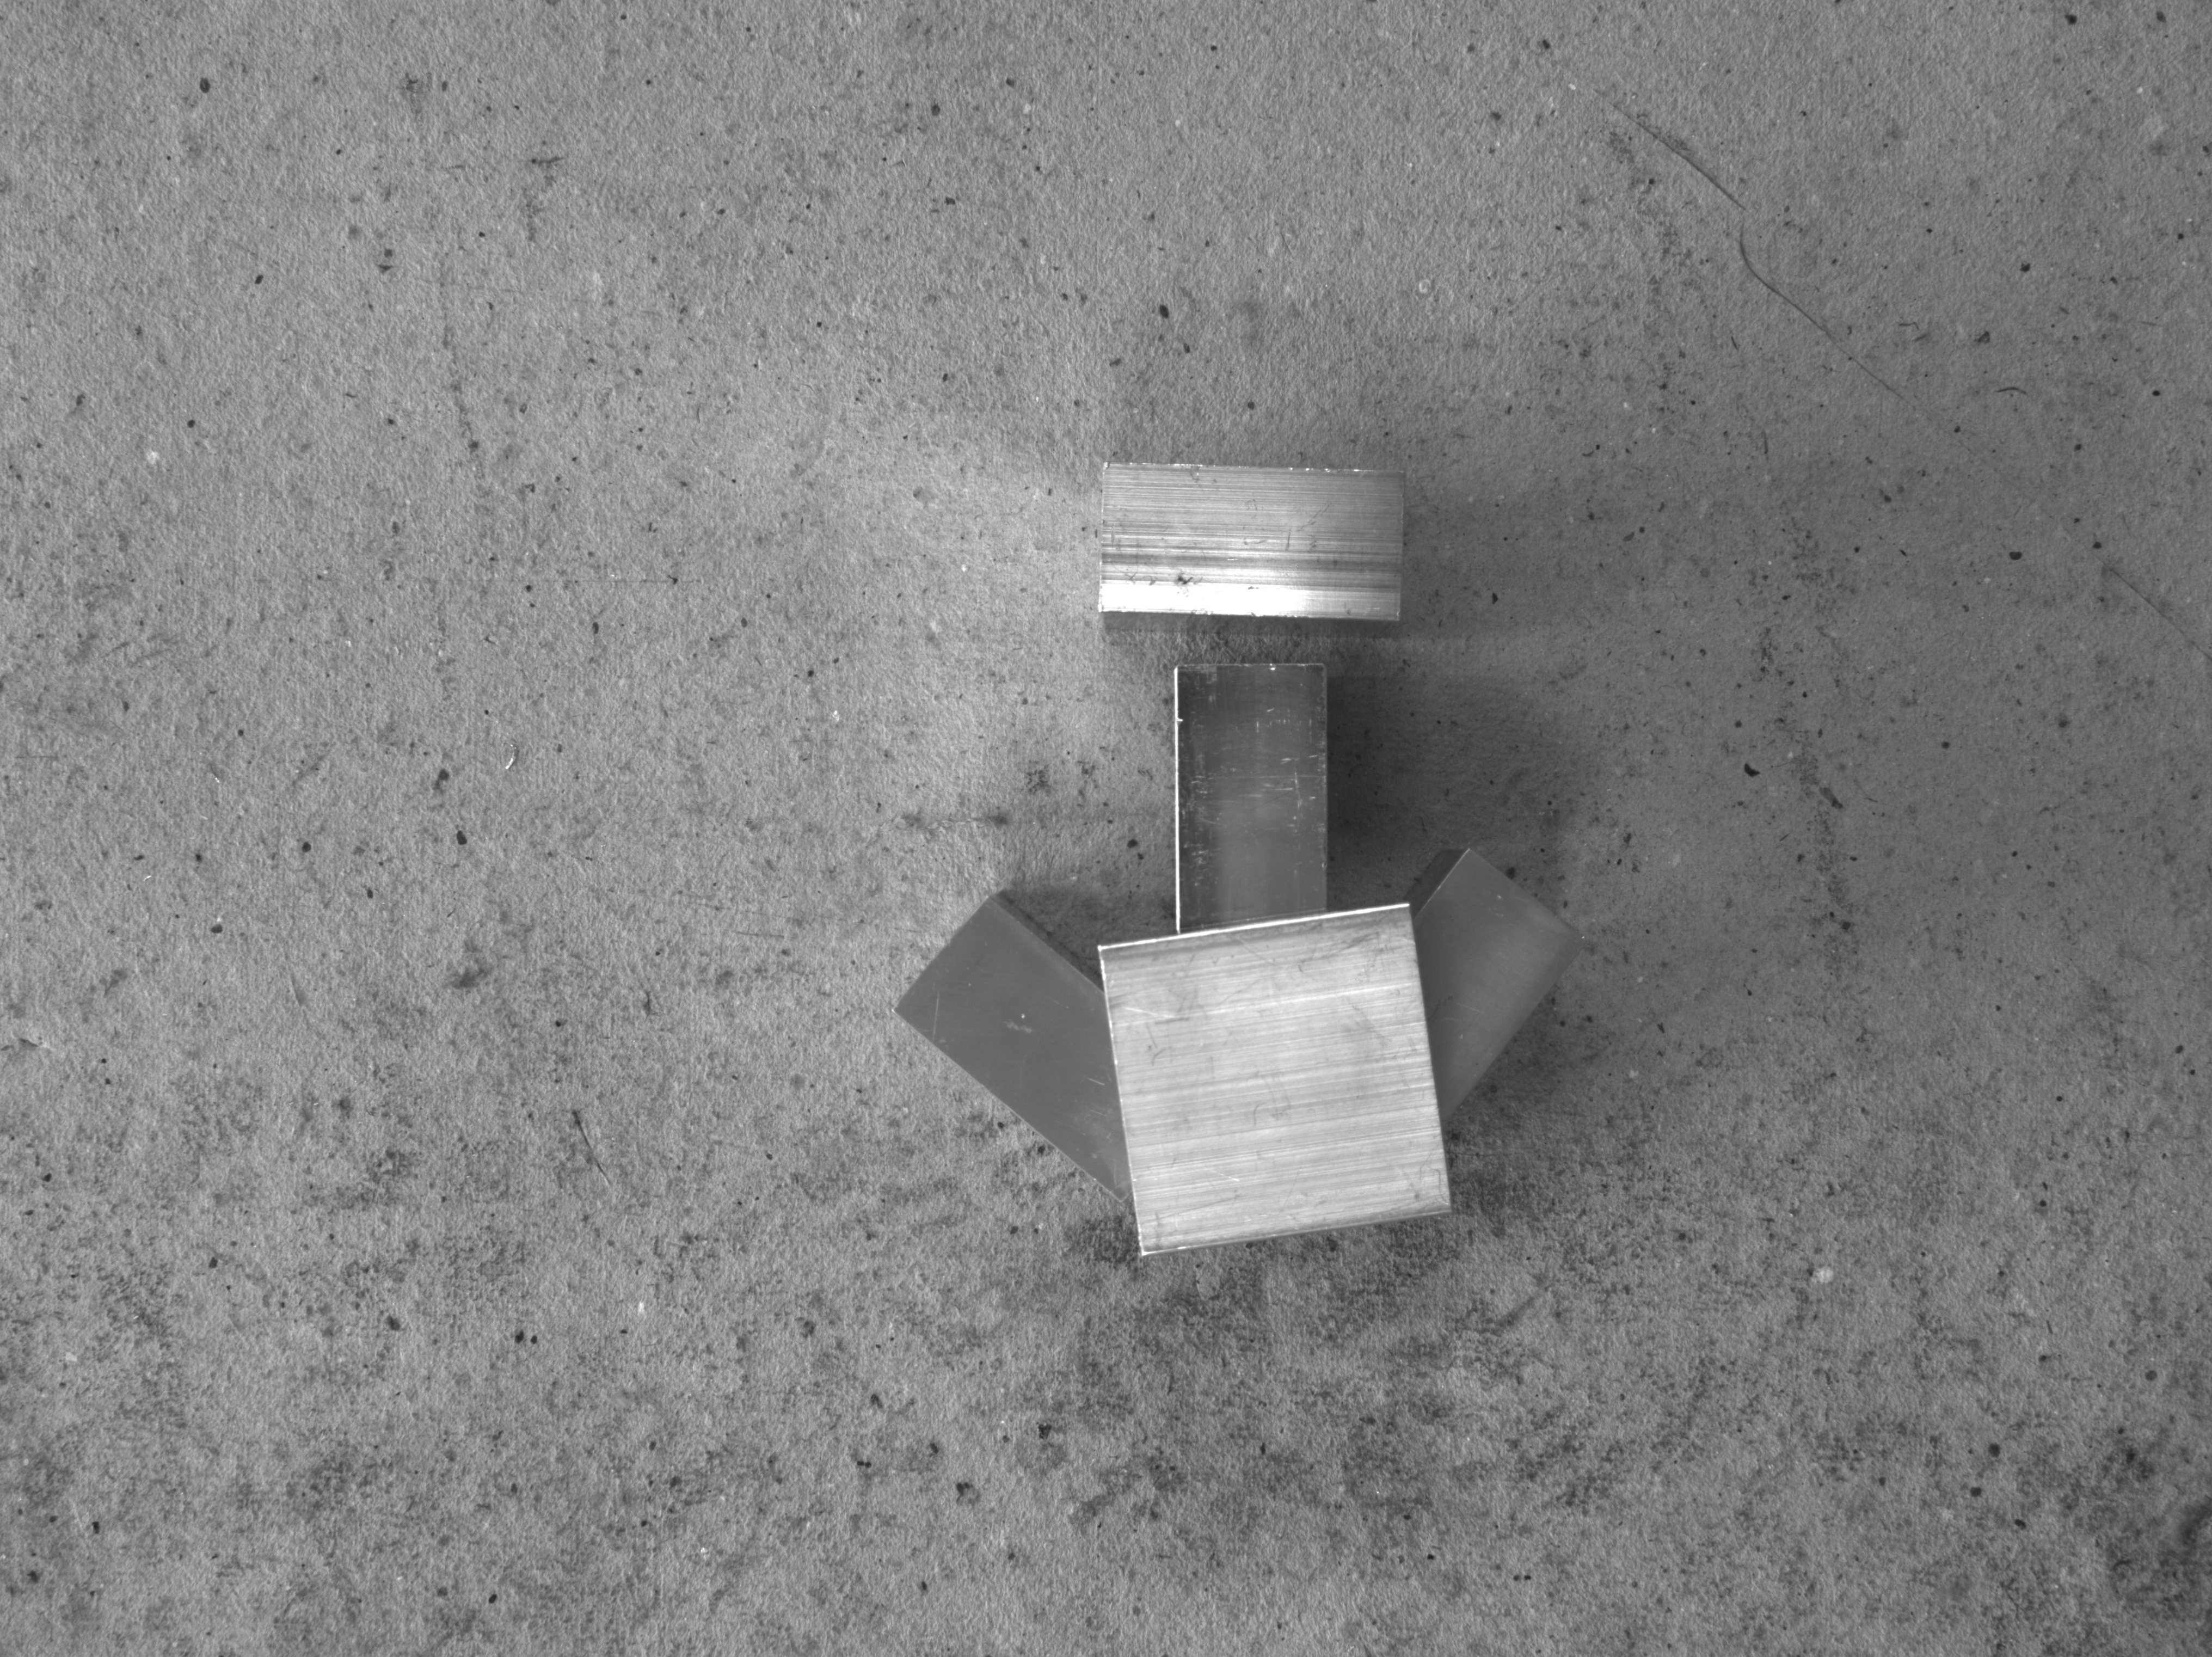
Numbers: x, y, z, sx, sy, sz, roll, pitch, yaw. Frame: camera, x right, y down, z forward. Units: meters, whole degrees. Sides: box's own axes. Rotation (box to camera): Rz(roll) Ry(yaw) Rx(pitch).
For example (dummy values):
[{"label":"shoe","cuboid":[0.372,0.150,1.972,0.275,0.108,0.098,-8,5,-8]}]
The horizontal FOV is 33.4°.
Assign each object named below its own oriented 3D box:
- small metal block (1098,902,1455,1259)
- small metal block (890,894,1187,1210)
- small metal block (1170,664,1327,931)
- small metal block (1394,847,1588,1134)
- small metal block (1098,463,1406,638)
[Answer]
[{"label":"small metal block","cuboid":[0.027,0.040,0.597,0.050,0.025,0.050,-8,89,1]},{"label":"small metal block","cuboid":[-0.009,0.037,0.633,0.050,0.050,0.025,40,89,-1]},{"label":"small metal block","cuboid":[0.024,-0.002,0.634,0.025,0.050,0.050,-1,89,0]},{"label":"small metal block","cuboid":[0.055,0.031,0.634,0.025,0.050,0.050,37,90,0]},{"label":"small metal block","cuboid":[0.024,-0.047,0.633,0.050,0.050,0.025,2,90,0]}]
